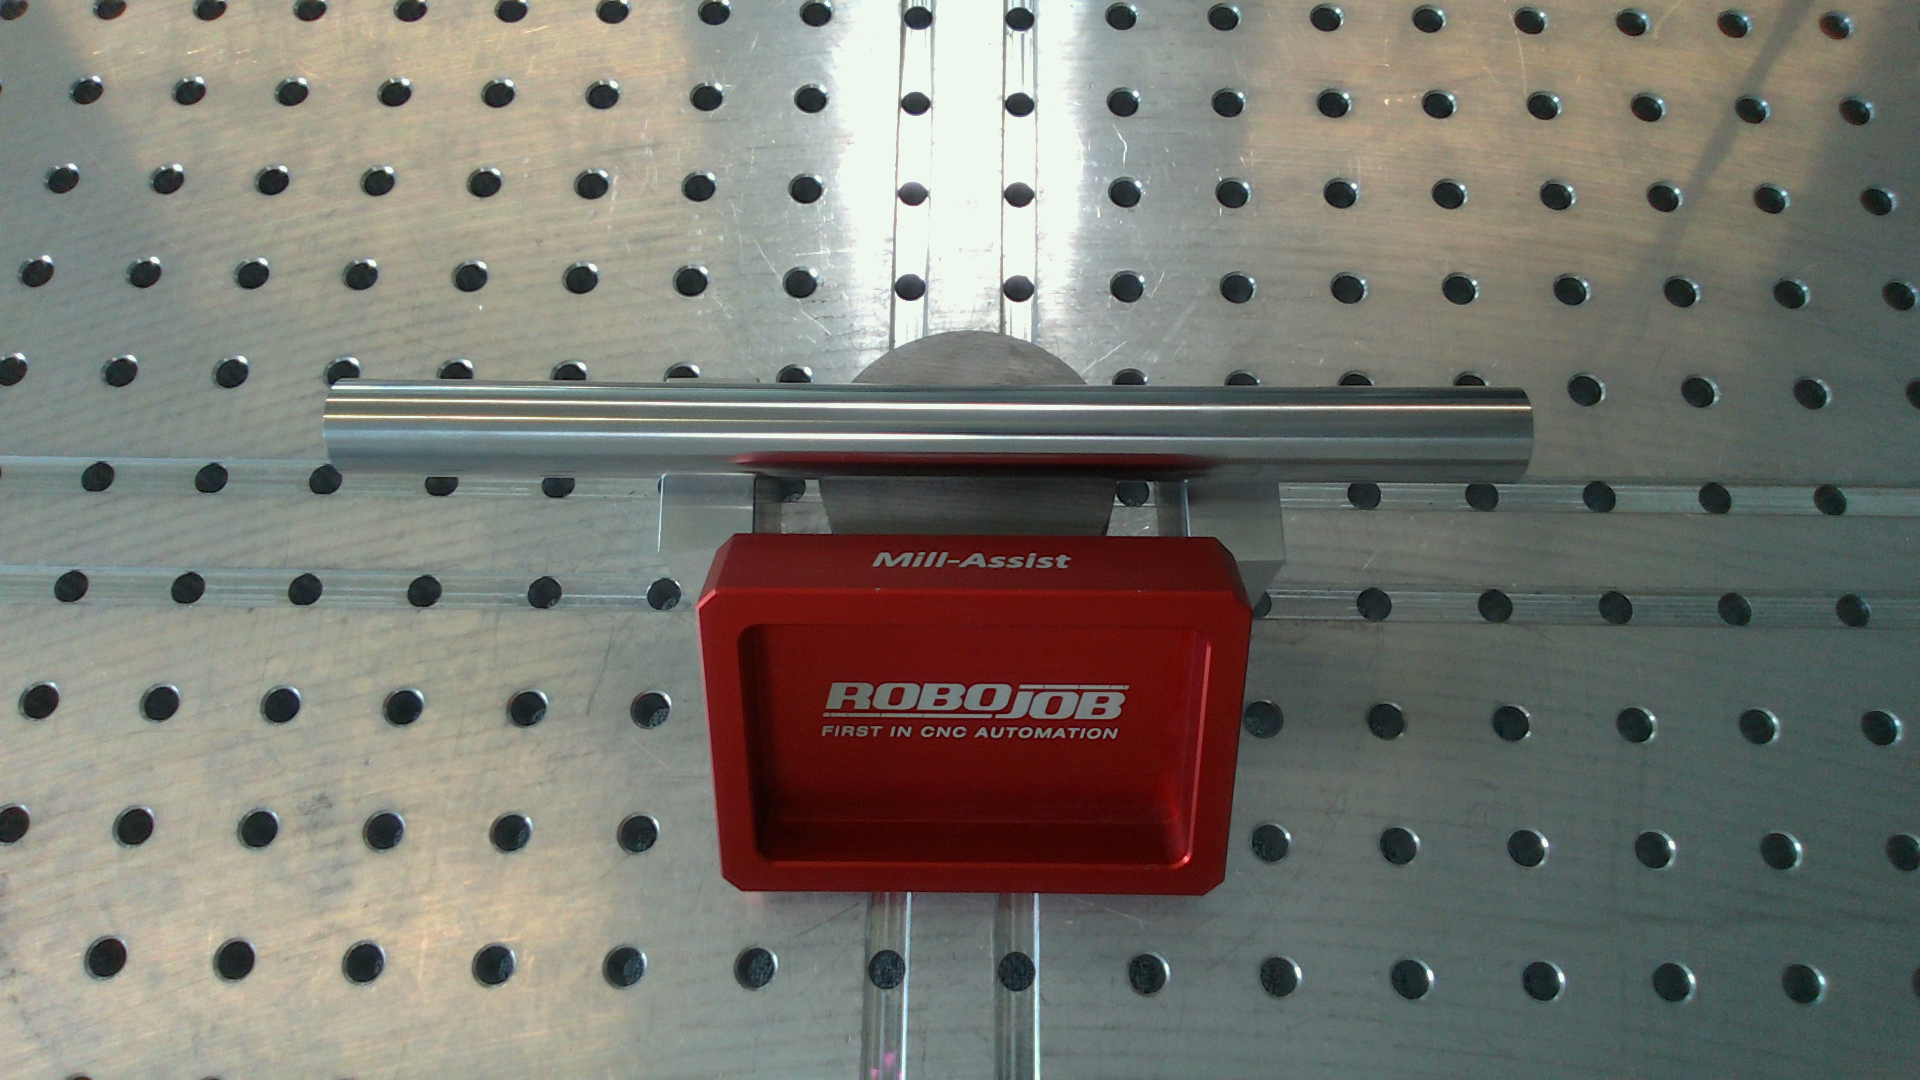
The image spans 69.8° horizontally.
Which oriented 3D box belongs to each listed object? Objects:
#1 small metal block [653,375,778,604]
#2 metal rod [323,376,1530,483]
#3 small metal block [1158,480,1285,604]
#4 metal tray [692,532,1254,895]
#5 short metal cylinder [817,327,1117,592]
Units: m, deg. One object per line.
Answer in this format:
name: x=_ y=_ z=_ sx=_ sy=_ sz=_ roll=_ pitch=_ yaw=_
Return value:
small metal block: x=-0.067 y=-0.012 z=0.388 sx=0.025 sy=0.050 sz=0.050 roll=-1 pitch=70 yaw=0
metal rod: x=-0.009 y=-0.028 z=0.354 sx=0.300 sy=0.025 sz=0.025 roll=1 pitch=70 yaw=0
small metal block: x=0.072 y=-0.010 z=0.388 sx=0.025 sy=0.050 sz=0.050 roll=-1 pitch=70 yaw=0
metal tray: x=0.003 y=0.045 z=0.348 sx=0.130 sy=0.090 sz=0.030 roll=0 pitch=27 yaw=0
short metal cylinder: x=0.002 y=-0.012 z=0.388 sx=0.080 sy=0.050 sz=0.080 roll=0 pitch=70 yaw=0
